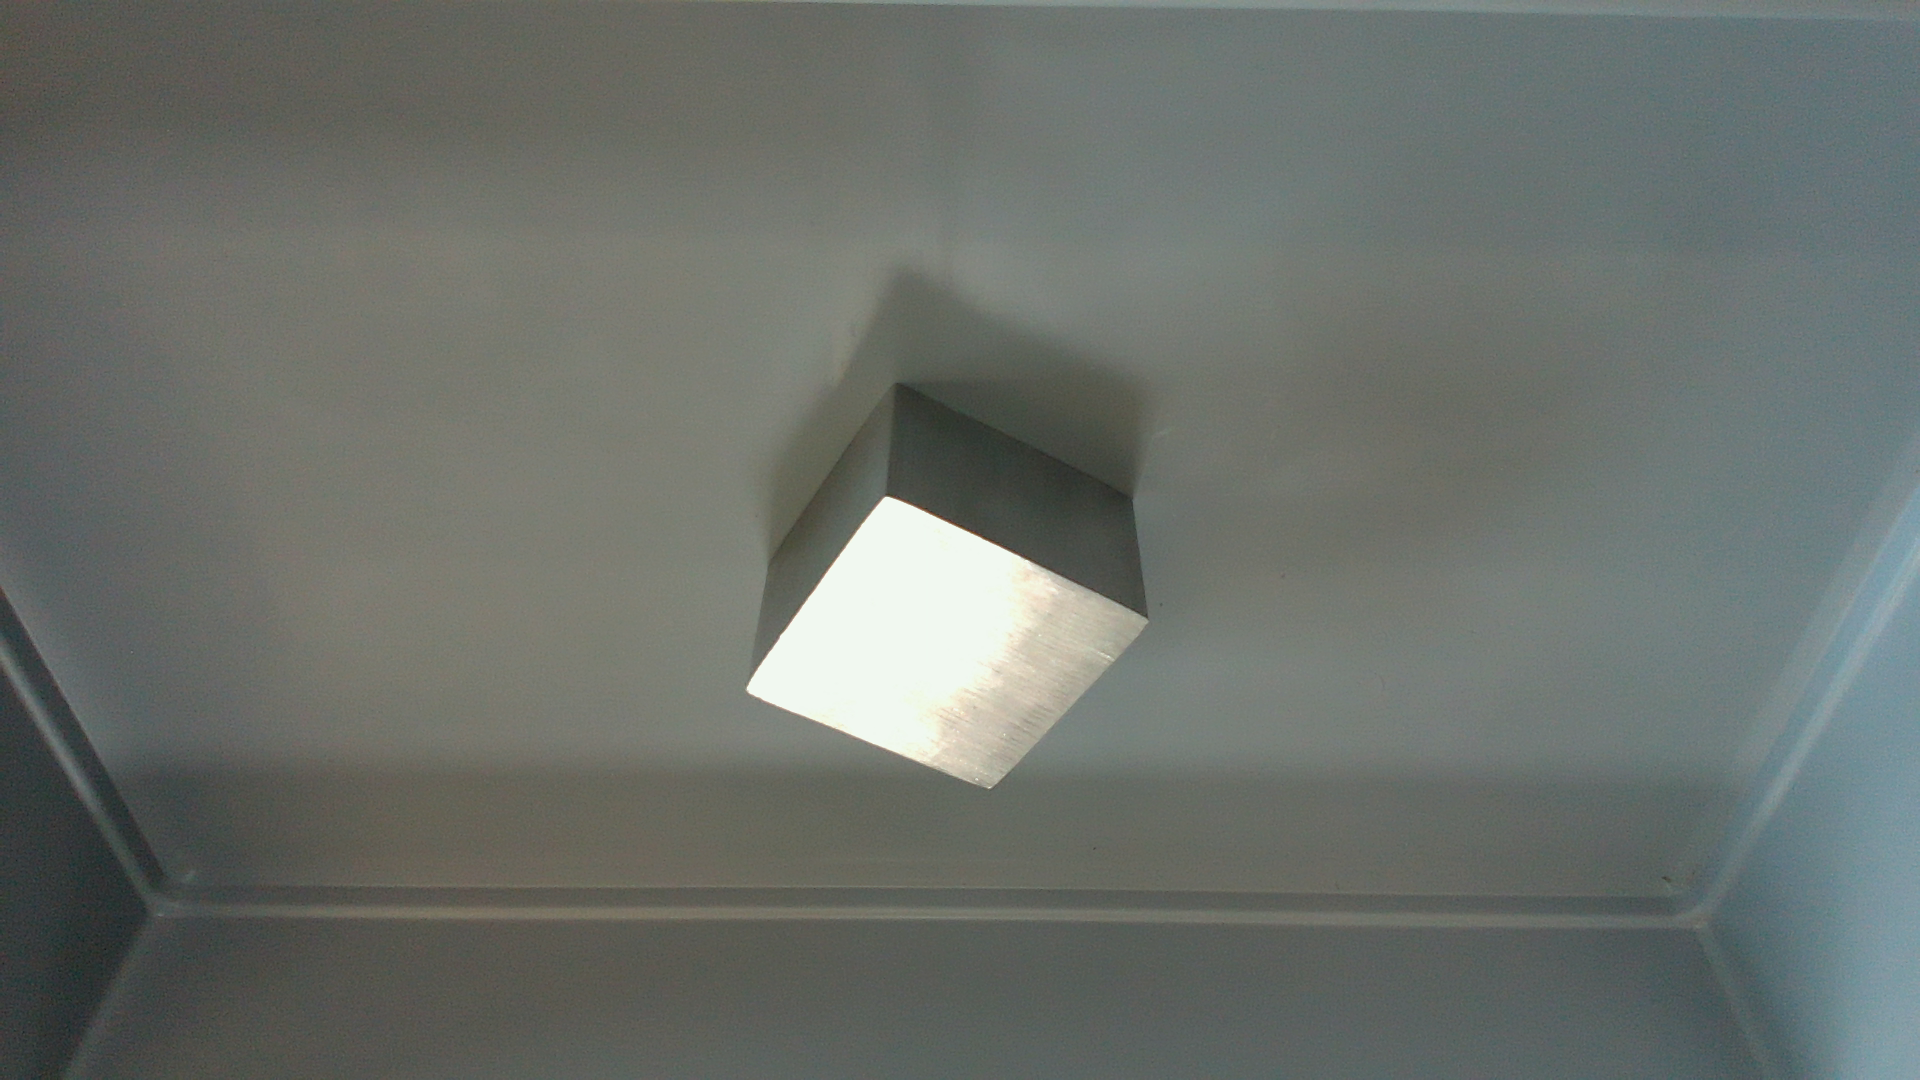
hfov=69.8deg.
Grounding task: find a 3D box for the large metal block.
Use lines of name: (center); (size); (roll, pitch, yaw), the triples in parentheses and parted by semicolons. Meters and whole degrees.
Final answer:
large metal block: (-0.005, 0.015, 0.383); (0.080, 0.050, 0.080); (25, 125, -20)
